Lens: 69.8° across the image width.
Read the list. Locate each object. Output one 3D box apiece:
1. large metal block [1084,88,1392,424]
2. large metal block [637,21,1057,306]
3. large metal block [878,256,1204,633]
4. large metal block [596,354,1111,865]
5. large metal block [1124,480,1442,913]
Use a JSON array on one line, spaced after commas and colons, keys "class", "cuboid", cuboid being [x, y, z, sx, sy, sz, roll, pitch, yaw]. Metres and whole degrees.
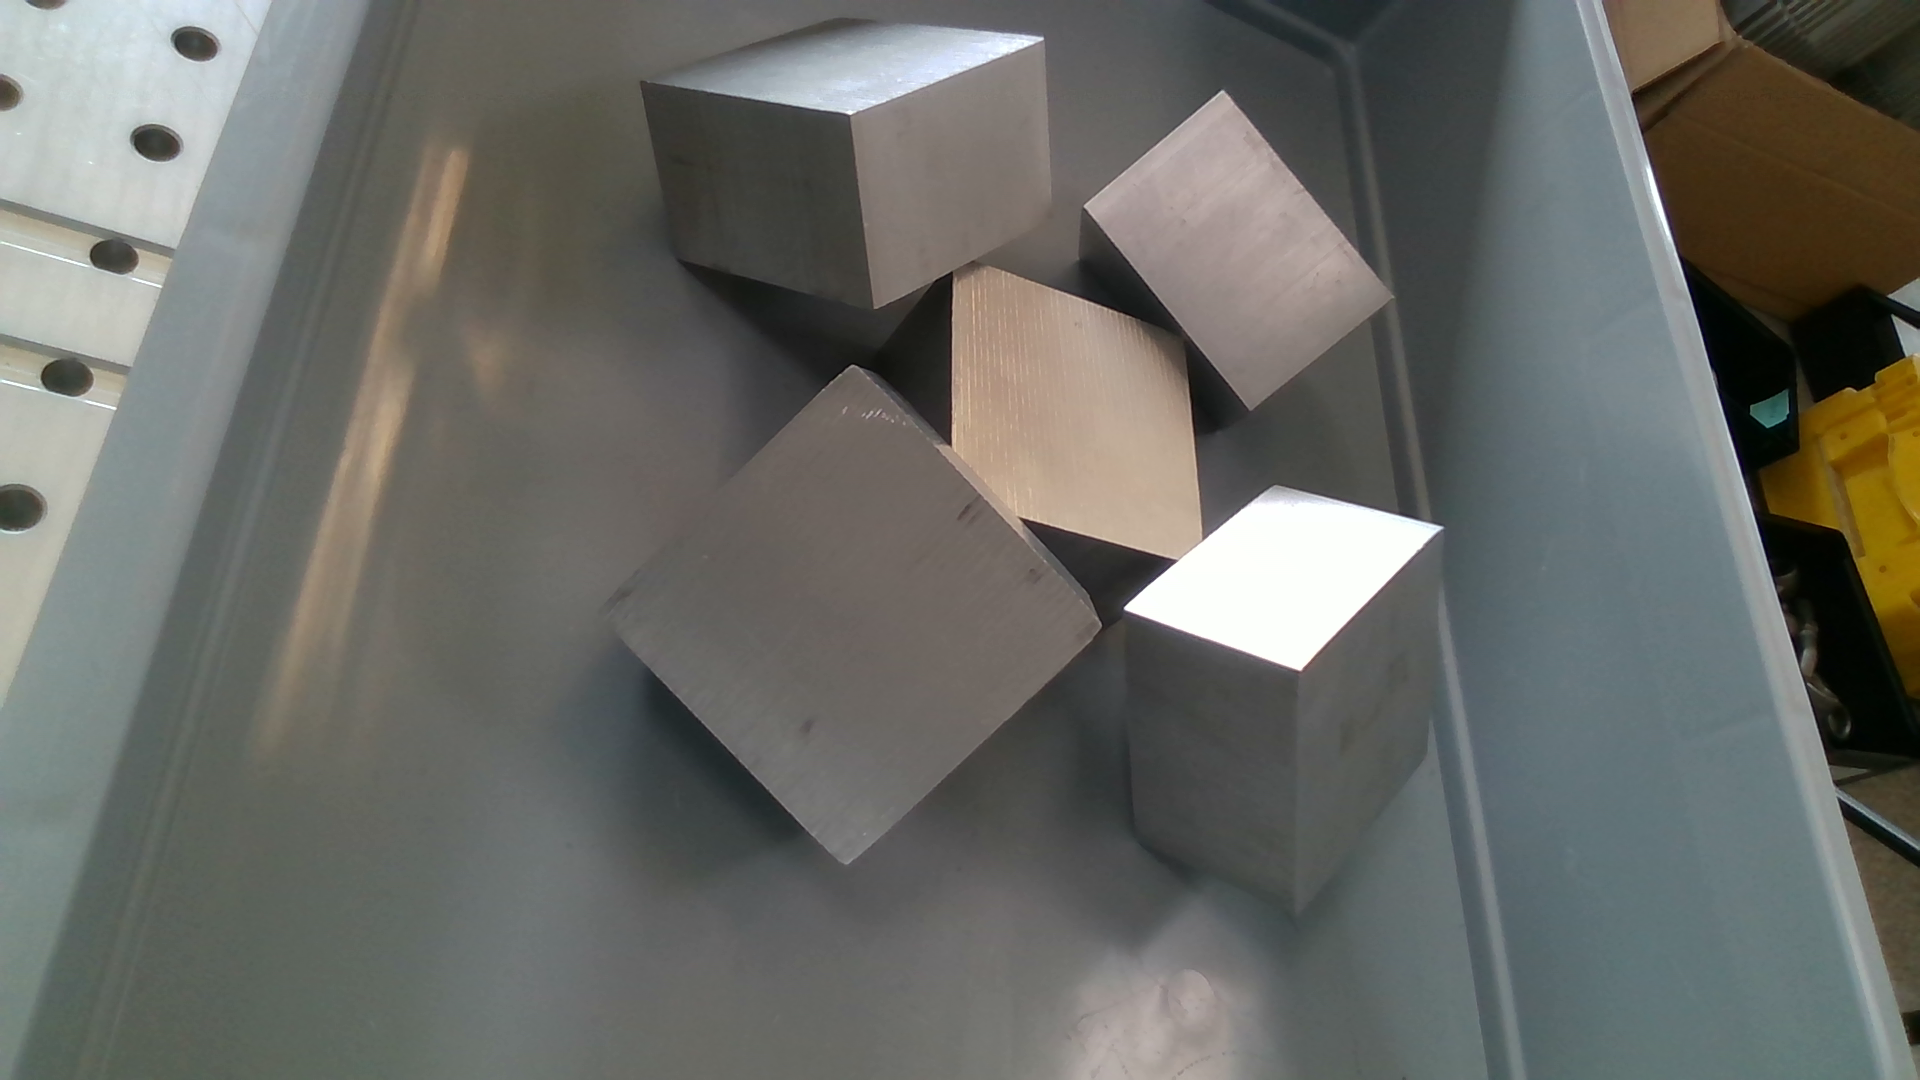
[{"class": "large metal block", "cuboid": [0.084, -0.087, 0.444, 0.050, 0.080, 0.080, -39, 89, 4]}, {"class": "large metal block", "cuboid": [-0.030, -0.111, 0.390, 0.080, 0.050, 0.080, 20, 40, 35]}, {"class": "large metal block", "cuboid": [0.022, -0.027, 0.402, 0.080, 0.050, 0.080, 15, 58, -25]}, {"class": "large metal block", "cuboid": [-0.023, 0.014, 0.326, 0.080, 0.050, 0.080, -43, 93, 6]}, {"class": "large metal block", "cuboid": [0.091, 0.040, 0.383, 0.080, 0.050, 0.080, -35, 129, -40]}]
